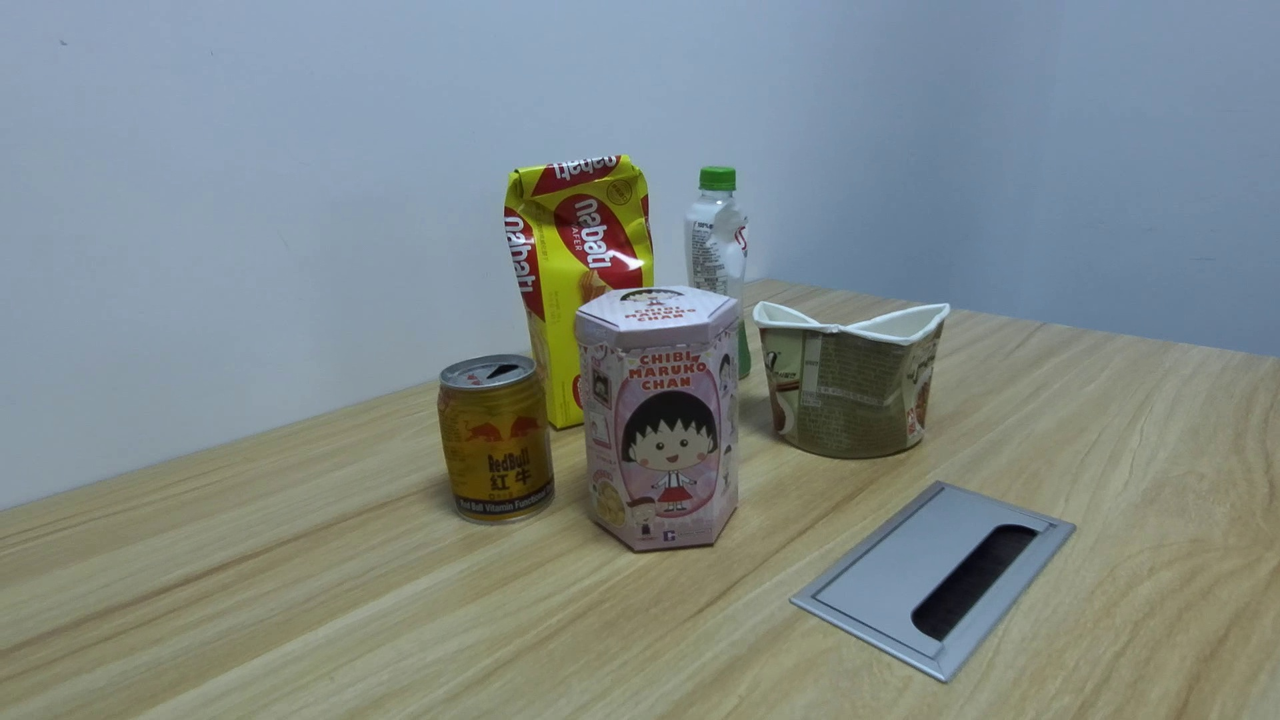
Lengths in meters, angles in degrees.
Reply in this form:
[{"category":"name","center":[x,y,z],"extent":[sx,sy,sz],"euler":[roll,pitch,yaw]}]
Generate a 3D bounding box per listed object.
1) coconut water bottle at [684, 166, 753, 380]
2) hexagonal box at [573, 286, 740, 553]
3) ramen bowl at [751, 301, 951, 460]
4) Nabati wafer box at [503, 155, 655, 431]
[{"category":"coconut water bottle","center":[0.068,-0.074,0.629],"extent":[0.069,0.187,0.069],"euler":[-1,15,1]},{"category":"hexagonal box","center":[0.013,0.032,0.410],"extent":[0.091,0.136,0.083],"euler":[-5,19,-5]},{"category":"ramen bowl","center":[0.149,0.007,0.526],"extent":[0.128,0.093,0.112],"euler":[9,24,32]},{"category":"Nabati wafer box","center":[-0.041,-0.052,0.562],"extent":[0.113,0.205,0.042],"euler":[-13,22,-22]}]
